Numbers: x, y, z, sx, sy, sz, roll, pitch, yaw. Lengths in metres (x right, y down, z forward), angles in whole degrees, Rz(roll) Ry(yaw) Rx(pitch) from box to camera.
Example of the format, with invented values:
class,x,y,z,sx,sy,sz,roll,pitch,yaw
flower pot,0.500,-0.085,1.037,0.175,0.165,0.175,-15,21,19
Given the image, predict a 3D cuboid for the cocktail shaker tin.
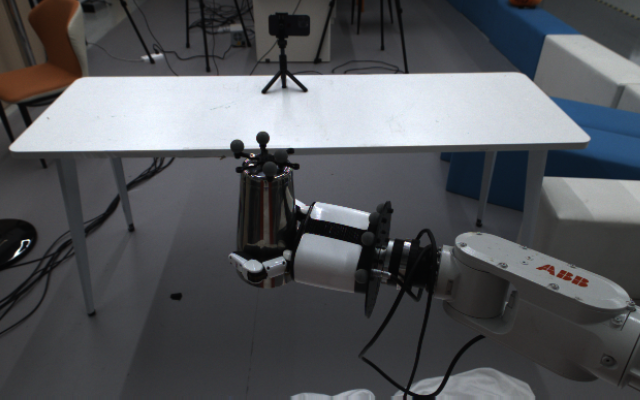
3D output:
class,x,y,z,sx,sy,sz,roll,pitch,yaw
cocktail shaker tin,-0.072,0.026,0.660,0.093,0.170,0.093,3,34,-2
